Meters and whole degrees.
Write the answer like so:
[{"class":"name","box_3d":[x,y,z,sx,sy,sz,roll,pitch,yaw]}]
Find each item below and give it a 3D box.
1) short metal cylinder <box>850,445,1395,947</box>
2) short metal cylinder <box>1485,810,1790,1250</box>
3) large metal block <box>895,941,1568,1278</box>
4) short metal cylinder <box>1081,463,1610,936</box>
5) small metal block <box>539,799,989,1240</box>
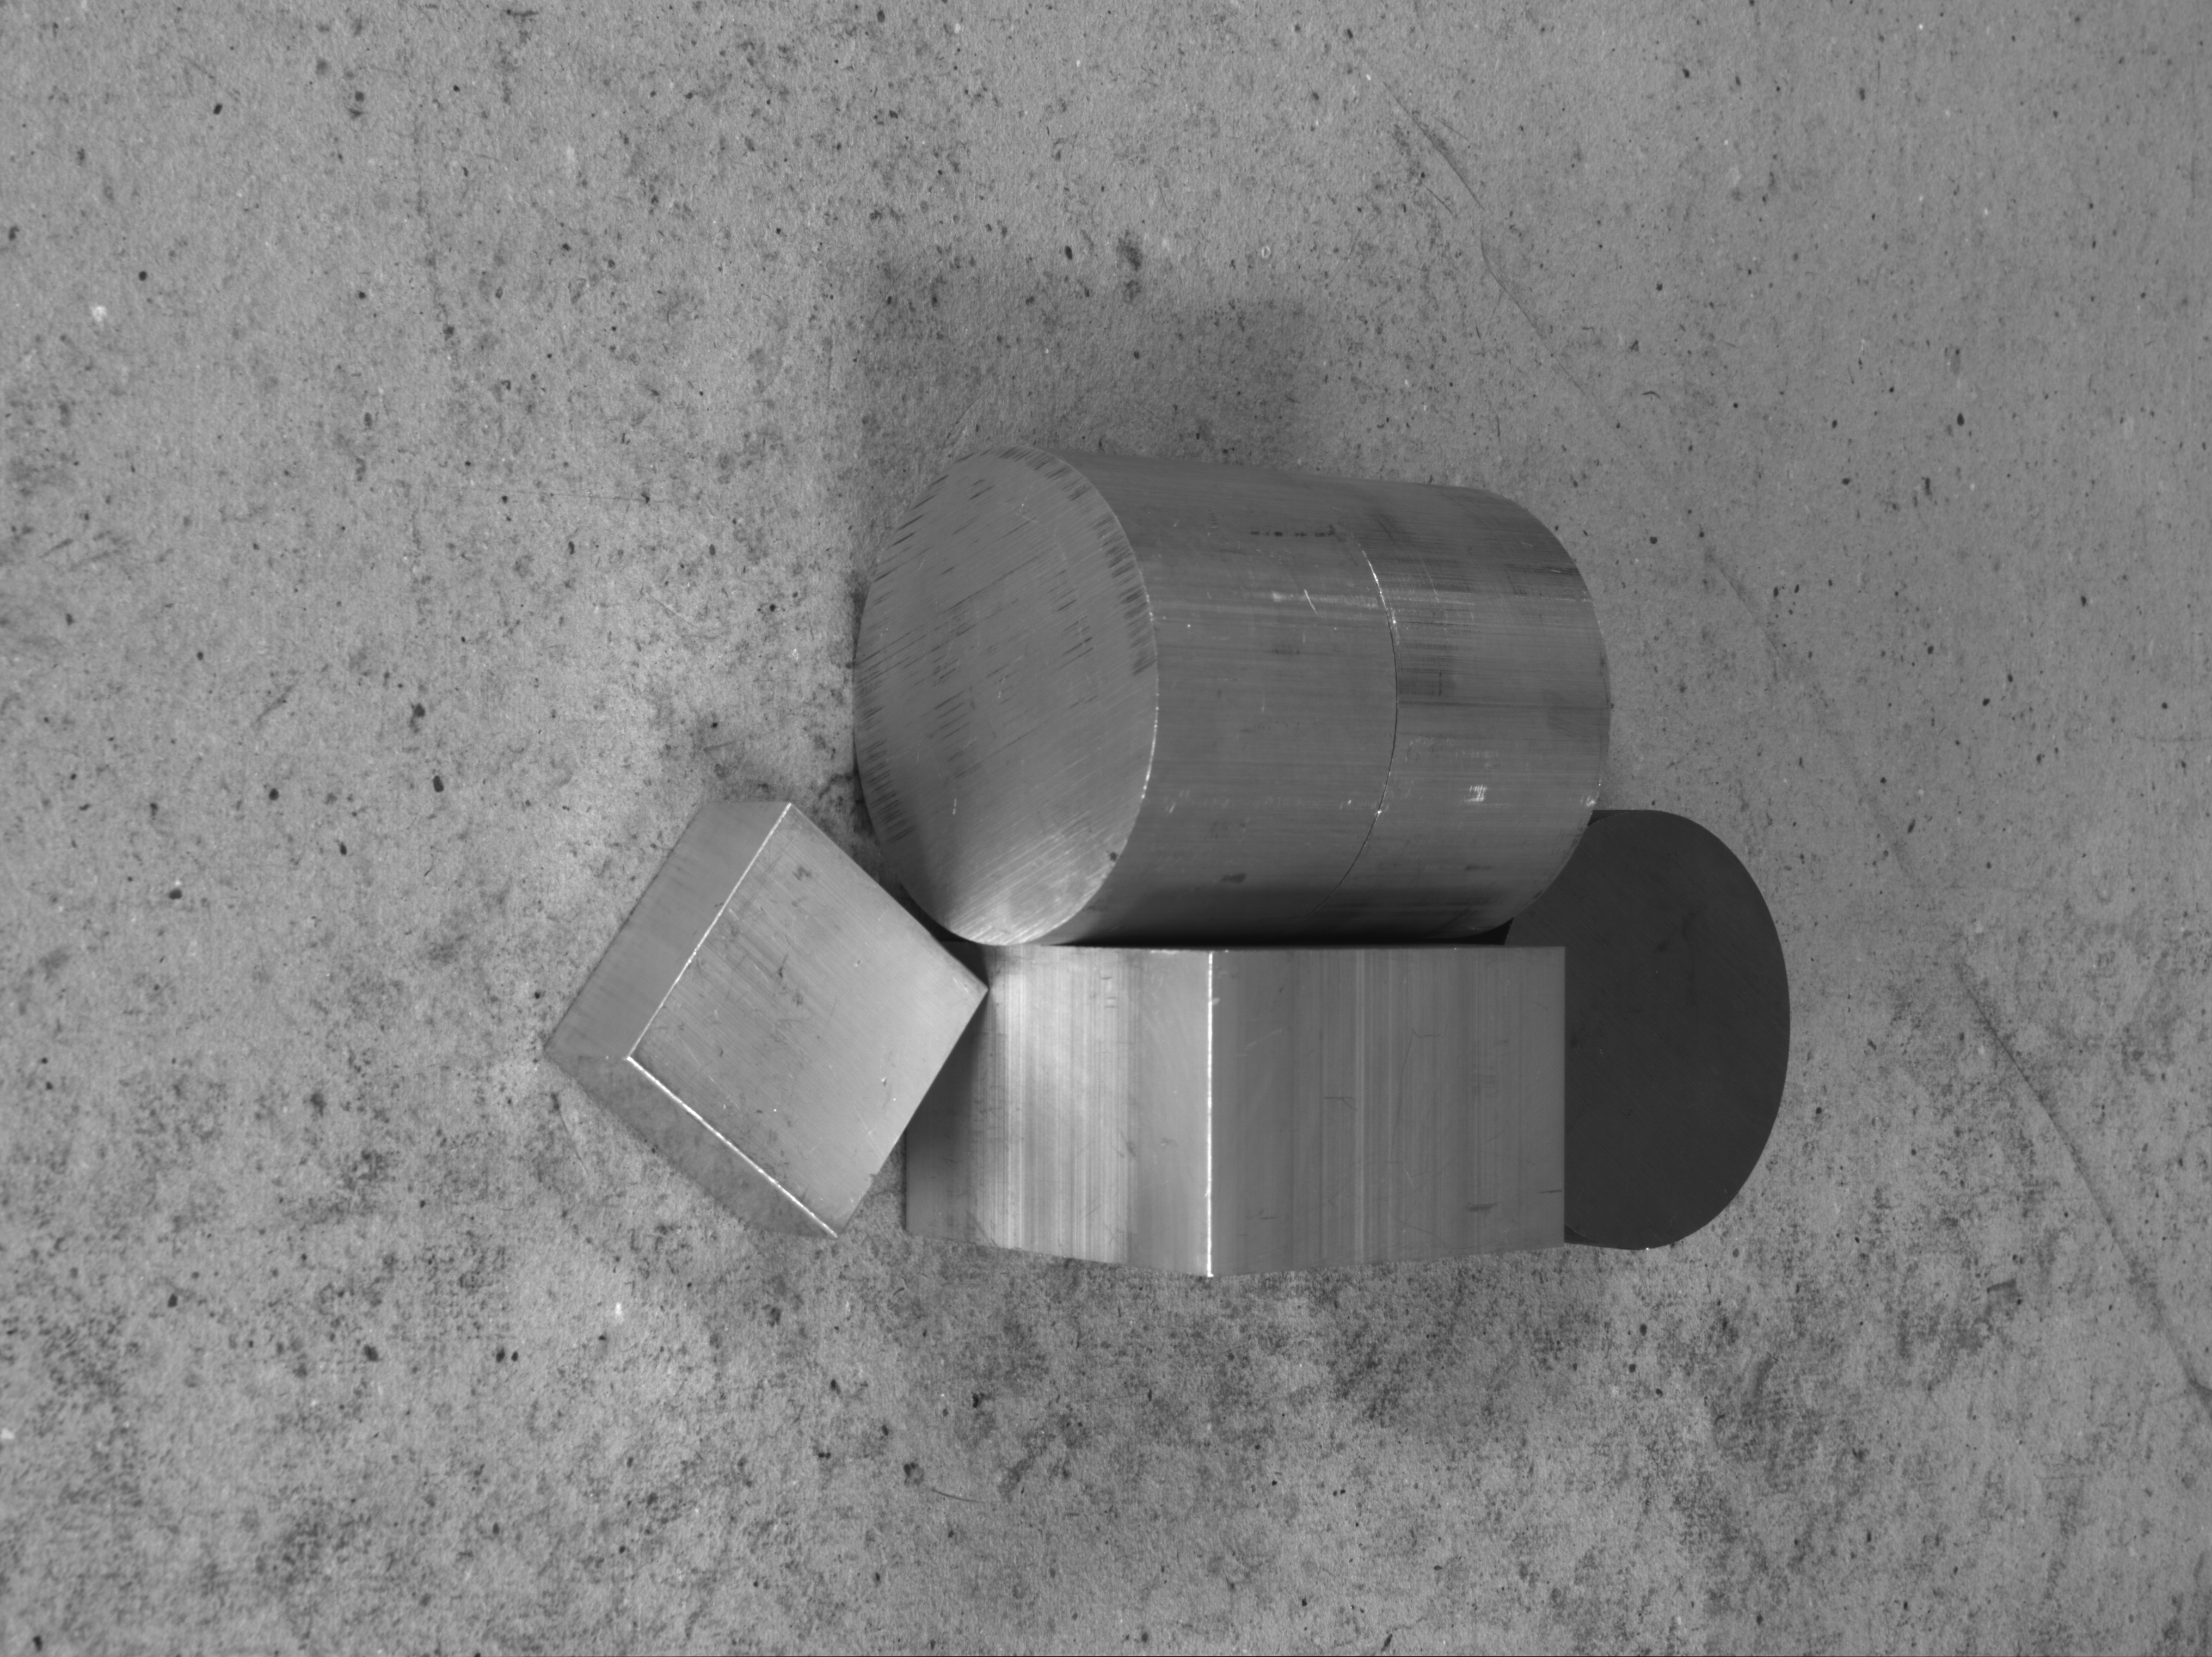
[{"class":"short metal cylinder","box_3d":[0.002,-0.021,0.603,0.050,0.080,0.080,1,89,-40]},{"class":"short metal cylinder","box_3d":[0.083,0.037,0.689,0.080,0.050,0.080,0,90,-40]},{"class":"large metal block","box_3d":[0.021,0.045,0.619,0.080,0.080,0.050,1,89,-40]},{"class":"short metal cylinder","box_3d":[0.040,-0.021,0.635,0.050,0.080,0.080,1,89,-40]},{"class":"small metal block","box_3d":[-0.054,0.031,0.592,0.050,0.025,0.050,45,63,-30]}]
